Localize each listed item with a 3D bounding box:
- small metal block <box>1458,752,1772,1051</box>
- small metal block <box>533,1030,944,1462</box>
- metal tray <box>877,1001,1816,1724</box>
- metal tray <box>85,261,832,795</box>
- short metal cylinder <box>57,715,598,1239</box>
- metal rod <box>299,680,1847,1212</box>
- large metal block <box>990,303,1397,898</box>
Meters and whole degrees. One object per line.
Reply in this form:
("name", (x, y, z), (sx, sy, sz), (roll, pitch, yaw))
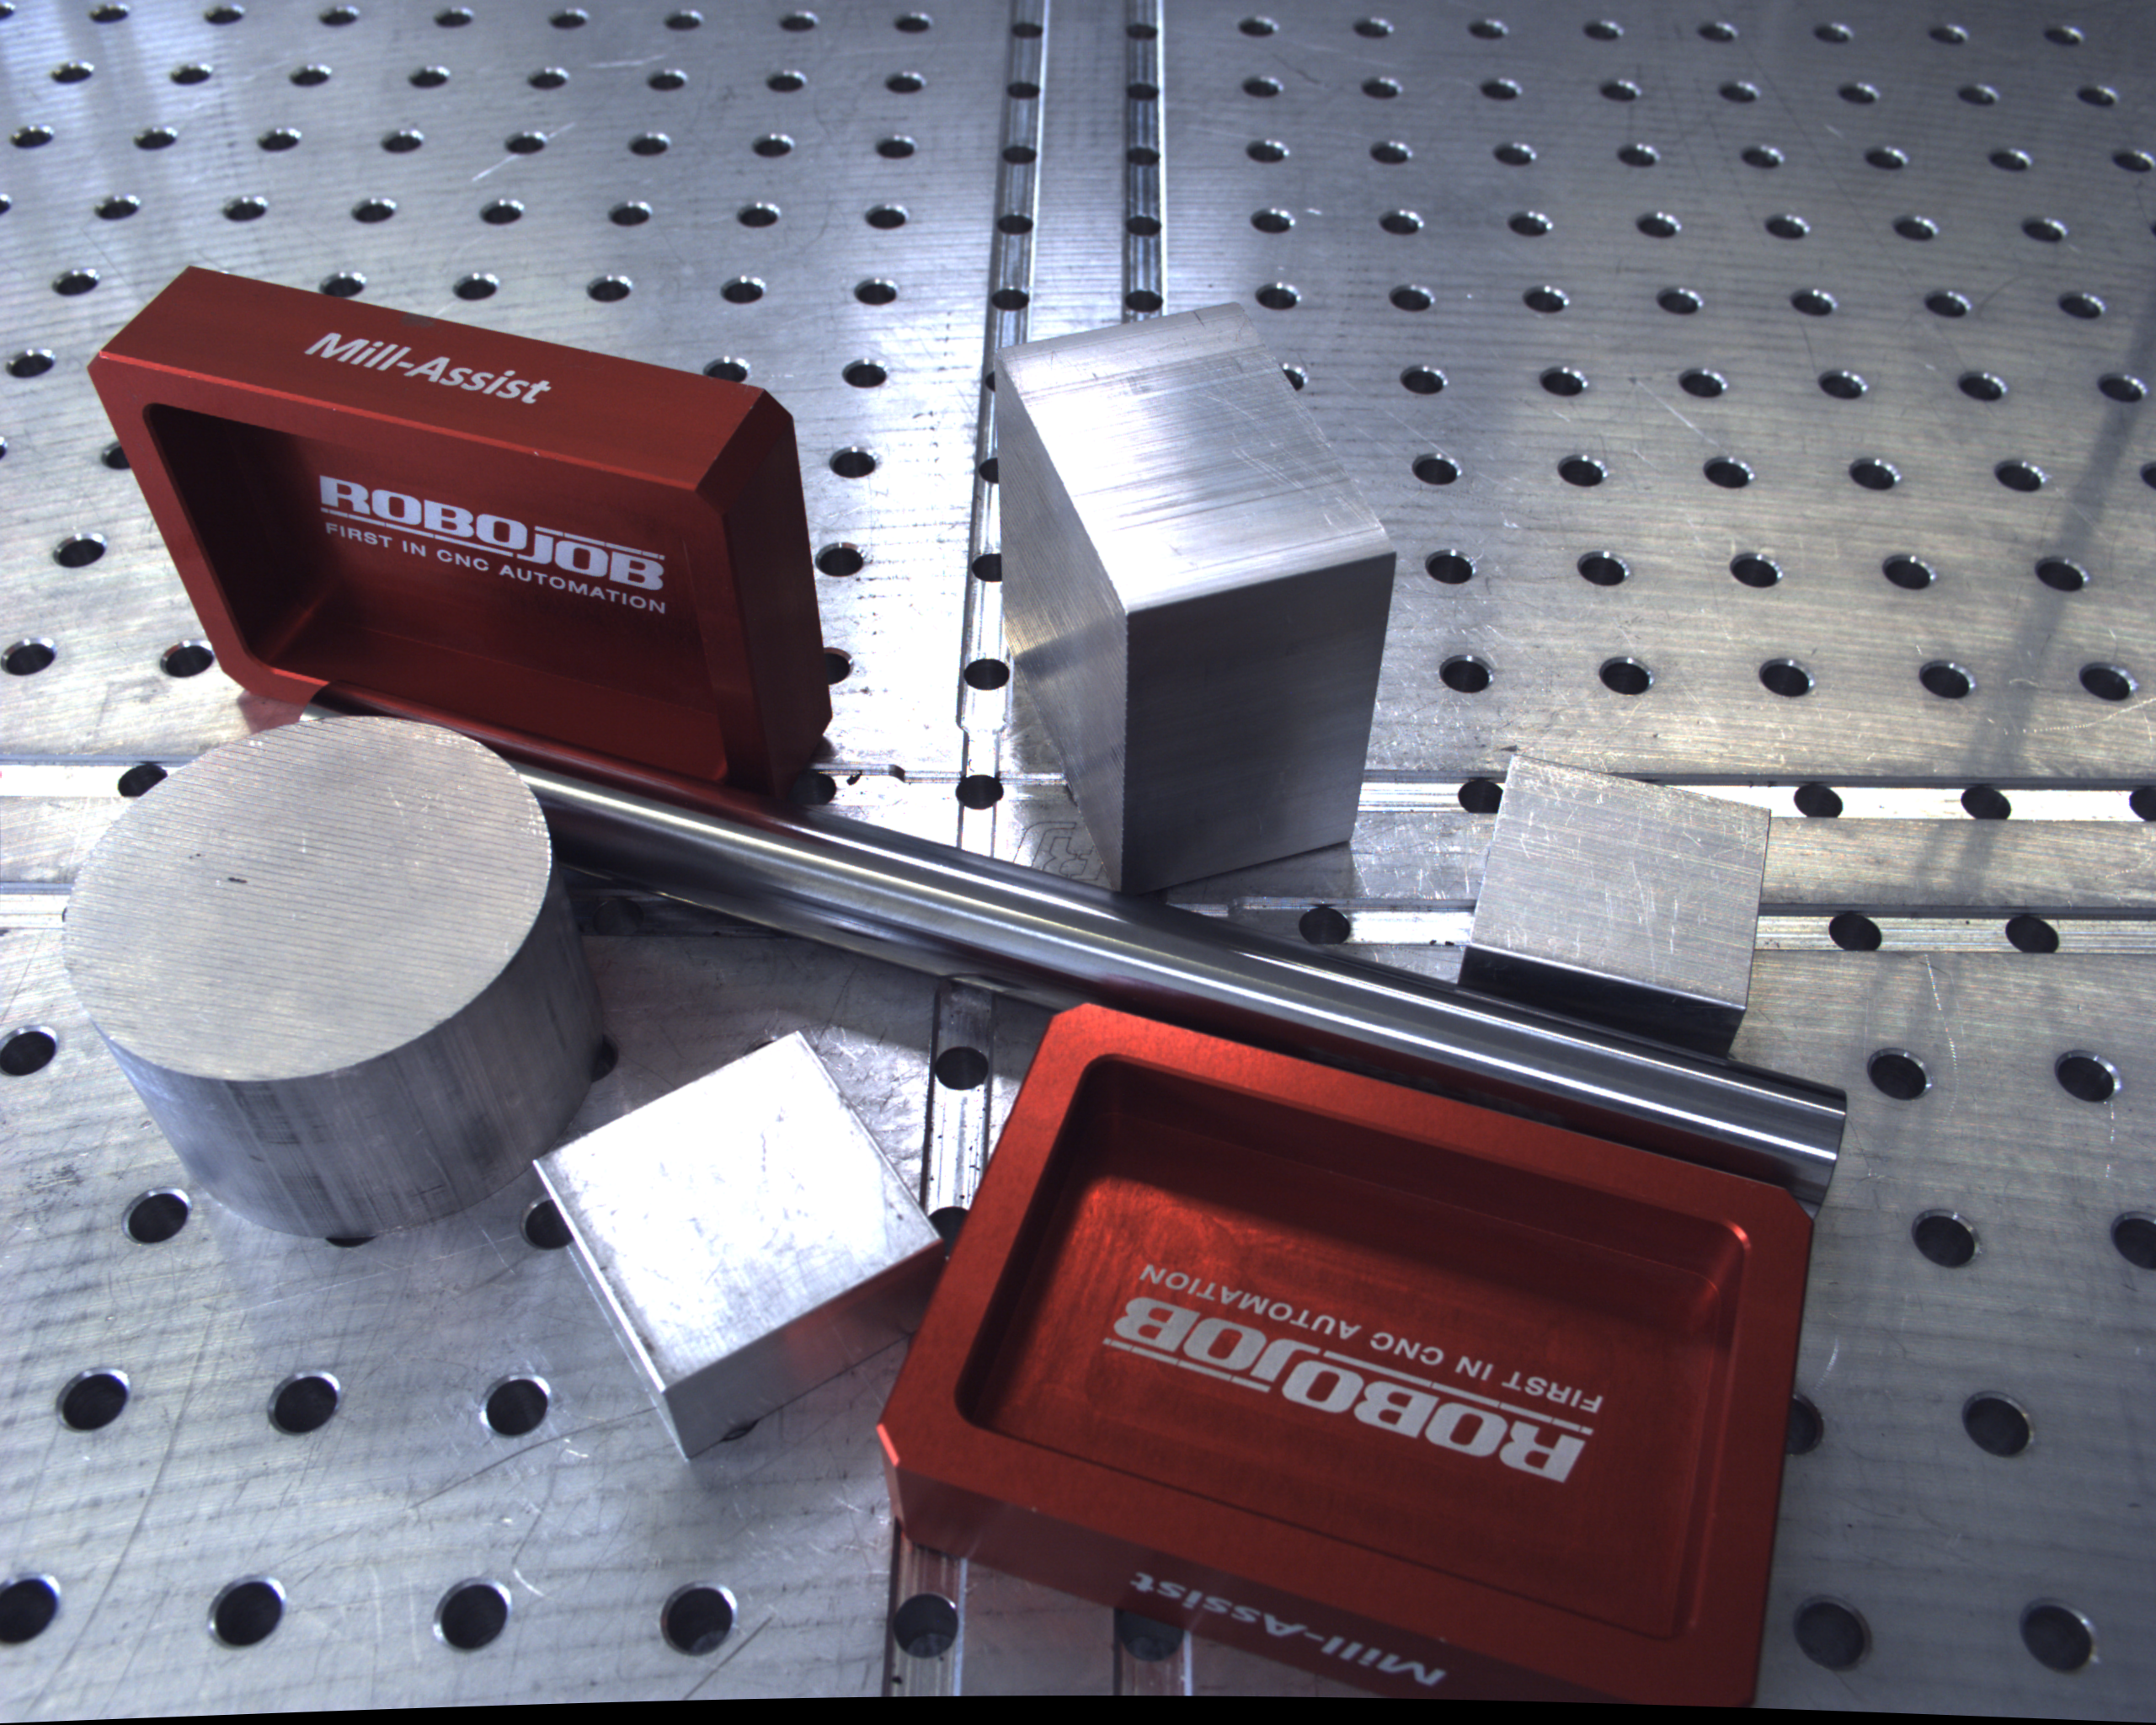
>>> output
("small metal block", (0.102, 0.010, 0.399), (0.050, 0.025, 0.050), (13, 51, 11))
("small metal block", (-0.057, 0.064, 0.354), (0.050, 0.025, 0.050), (-26, 55, -20))
("metal tray", (0.045, 0.080, 0.336), (0.131, 0.030, 0.090), (14, 52, 11))
("metal tray", (-0.119, -0.062, 0.415), (0.131, 0.090, 0.030), (14, 52, 12))
("short metal cylinder", (-0.131, 0.020, 0.373), (0.080, 0.050, 0.080), (0, 50, 0))
("metal rod", (-0.012, 0.013, 0.396), (0.301, 0.025, 0.025), (15, 52, 12))
("large metal block", (0.020, -0.051, 0.417), (0.050, 0.080, 0.080), (-14, 52, -12))
